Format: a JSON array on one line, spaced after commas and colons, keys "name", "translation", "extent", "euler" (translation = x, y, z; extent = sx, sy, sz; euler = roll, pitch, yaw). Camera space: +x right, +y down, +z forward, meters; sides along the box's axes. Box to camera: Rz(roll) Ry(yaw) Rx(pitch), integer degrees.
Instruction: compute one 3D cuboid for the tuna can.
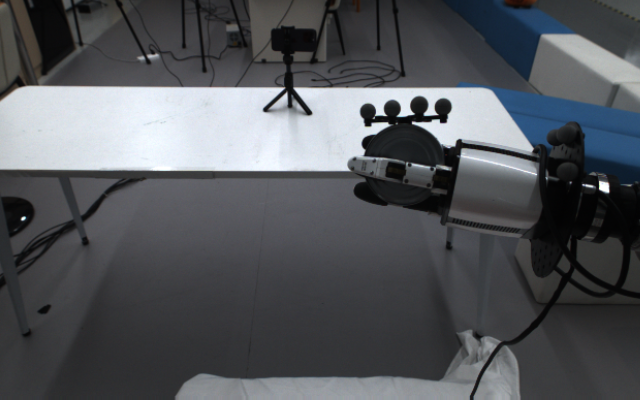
[{"name": "tuna can", "translation": [0.093, -0.040, 0.523], "extent": [0.085, 0.085, 0.034], "euler": [15, 10, 18]}]
